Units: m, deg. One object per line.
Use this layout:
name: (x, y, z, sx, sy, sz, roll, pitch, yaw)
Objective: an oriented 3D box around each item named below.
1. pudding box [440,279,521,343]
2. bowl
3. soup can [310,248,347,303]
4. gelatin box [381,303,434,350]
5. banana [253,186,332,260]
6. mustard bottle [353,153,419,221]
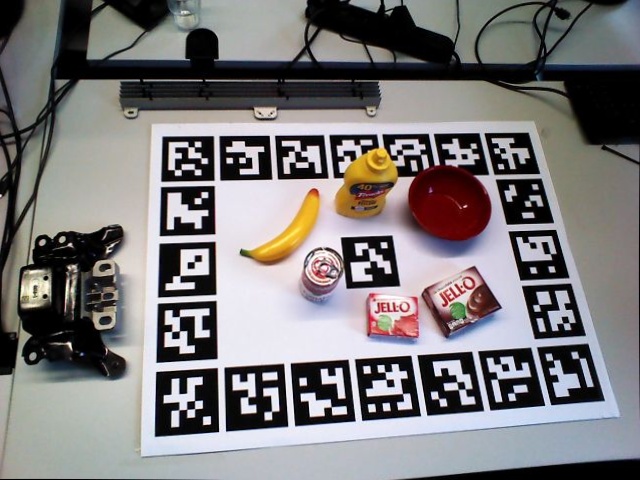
pudding box: (0.286, 0.120, 0.928, 0.113, 0.039, 0.090, -24, 77, -16)
bowl: (0.281, -0.055, 0.997, 0.162, 0.055, 0.161, 2, 66, -4)
soup can: (0.021, 0.061, 0.878, 0.068, 0.102, 0.067, 3, 65, -8)
gelatin box: (0.153, 0.150, 0.905, 0.089, 0.030, 0.073, 5, 70, -4)
banana: (-0.033, -0.025, 0.953, 0.074, 0.039, 0.196, 34, 67, 19)
mustard bottle: (0.121, -0.100, 0.907, 0.096, 0.192, 0.058, -1, 64, -8)
